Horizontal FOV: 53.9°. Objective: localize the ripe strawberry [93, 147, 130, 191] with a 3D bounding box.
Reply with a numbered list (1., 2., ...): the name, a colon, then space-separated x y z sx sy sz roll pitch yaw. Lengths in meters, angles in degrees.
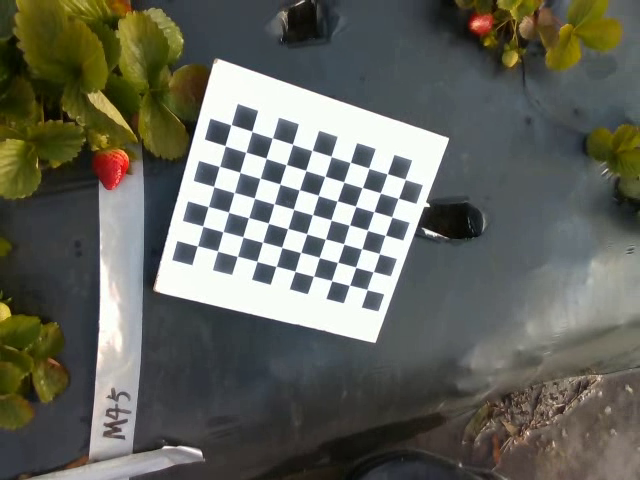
1. ripe strawberry: -0.211 -0.070 0.635 0.050 0.055 0.035 8 -6 -20
